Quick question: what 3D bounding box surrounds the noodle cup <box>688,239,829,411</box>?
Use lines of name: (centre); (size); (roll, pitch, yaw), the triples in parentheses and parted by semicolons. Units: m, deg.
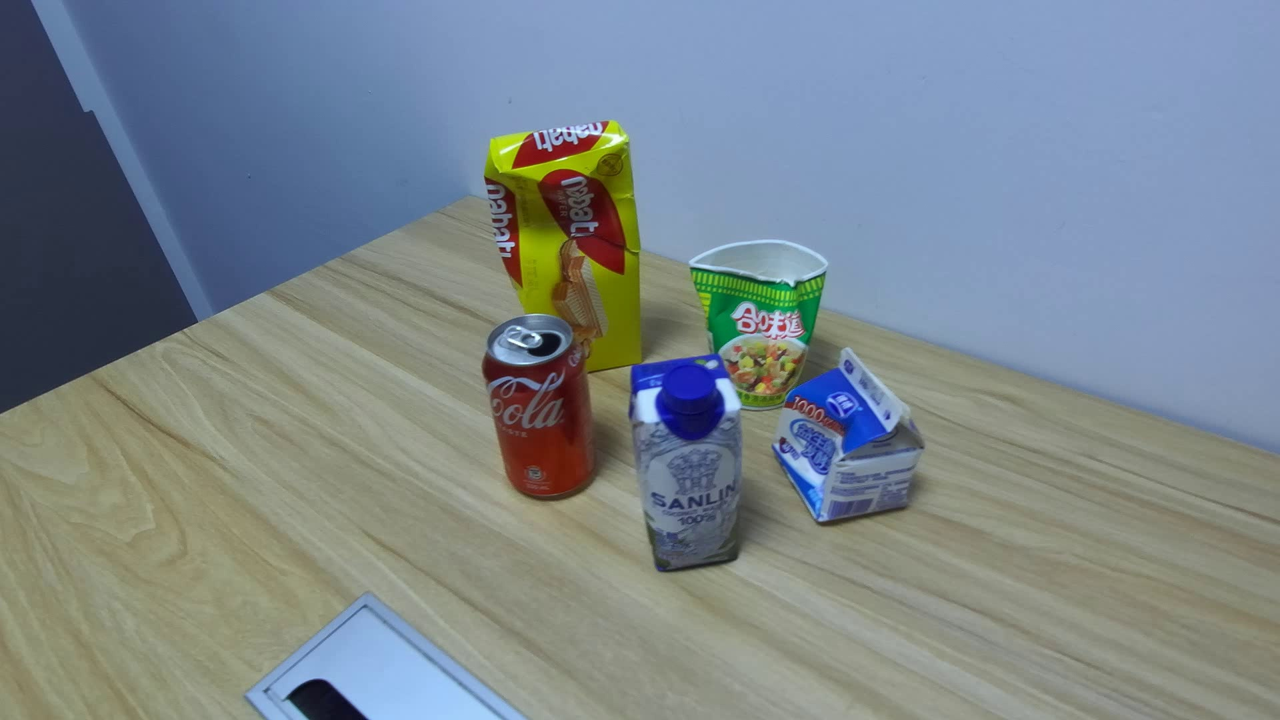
noodle cup: (0.095, -0.026, 0.547); (0.075, 0.122, 0.082); (-26, 33, -38)

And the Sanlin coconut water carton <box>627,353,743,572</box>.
Sanlin coconut water carton: (0.028, 0.058, 0.414); (0.060, 0.144, 0.060); (-9, 36, -5)

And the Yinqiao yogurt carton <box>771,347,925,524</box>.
Yinqiao yogurt carton: (0.139, 0.047, 0.463); (0.071, 0.094, 0.077); (-7, 37, -14)

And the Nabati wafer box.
Nabati wafer box: (-0.054, -0.079, 0.551); (0.107, 0.205, 0.042); (-9, 38, -7)

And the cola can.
cola can: (-0.067, 0.033, 0.479); (0.068, 0.120, 0.067); (-1, 38, 1)
